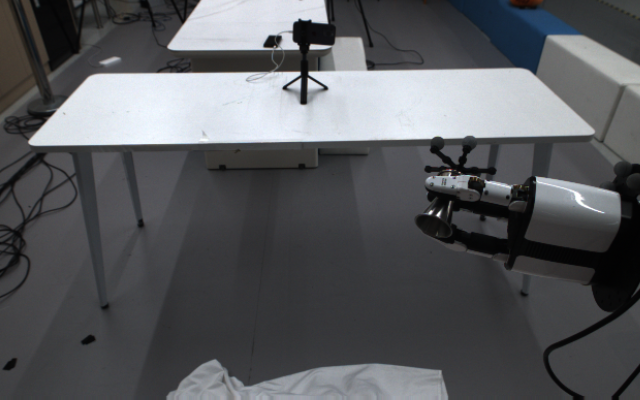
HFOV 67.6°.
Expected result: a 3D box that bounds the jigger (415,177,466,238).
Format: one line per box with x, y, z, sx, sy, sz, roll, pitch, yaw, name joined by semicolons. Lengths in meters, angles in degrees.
0.141;0.000;0.552;0.043;0.043;0.071;19;61;23;jigger
